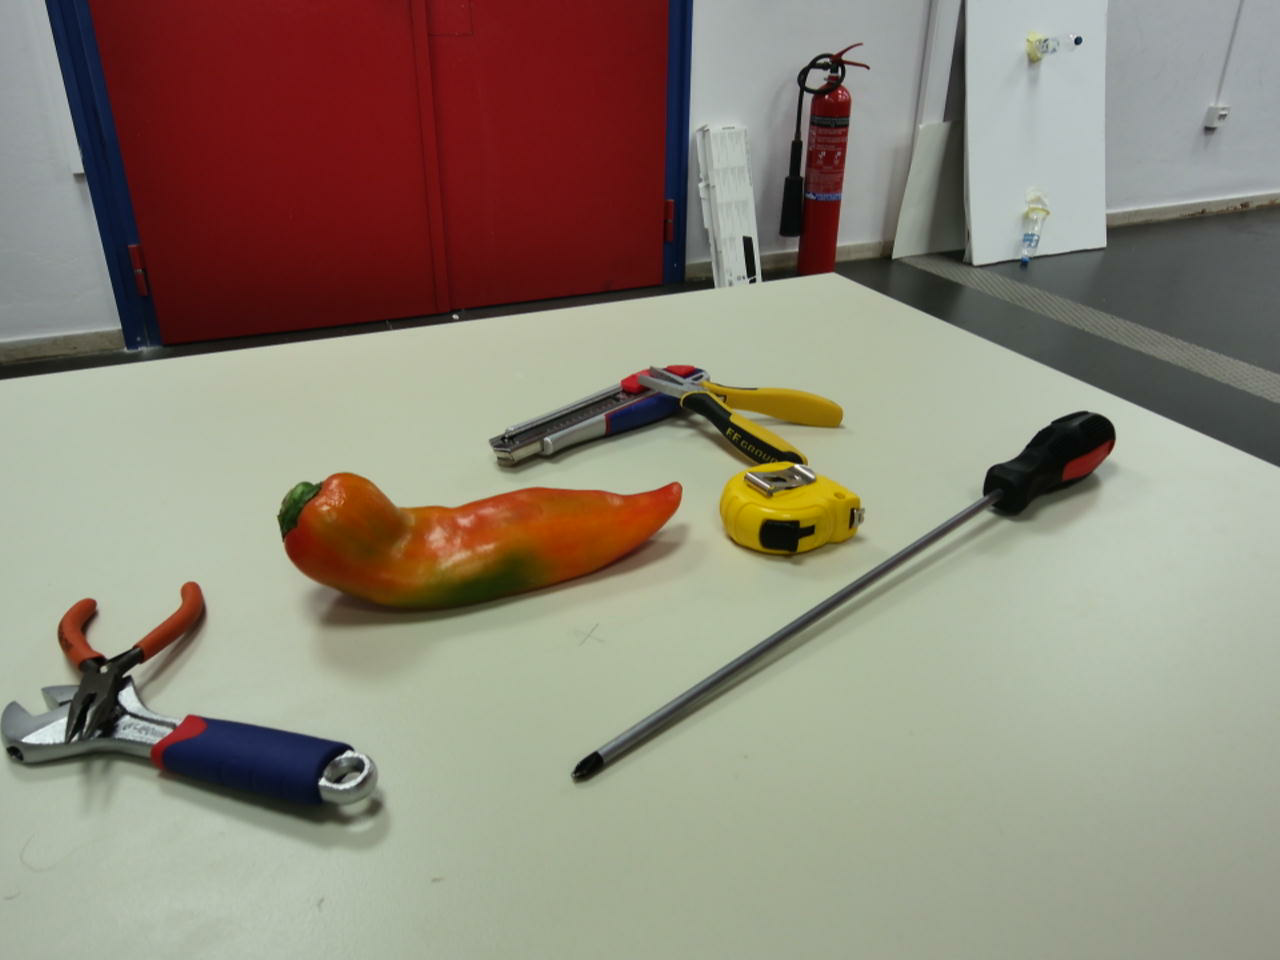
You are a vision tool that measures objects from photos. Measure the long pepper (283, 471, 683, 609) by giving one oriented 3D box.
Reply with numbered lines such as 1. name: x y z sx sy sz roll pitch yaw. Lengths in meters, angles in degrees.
1. long pepper: -0.069 0.018 0.491 0.199 0.065 0.066 -9 27 -18
